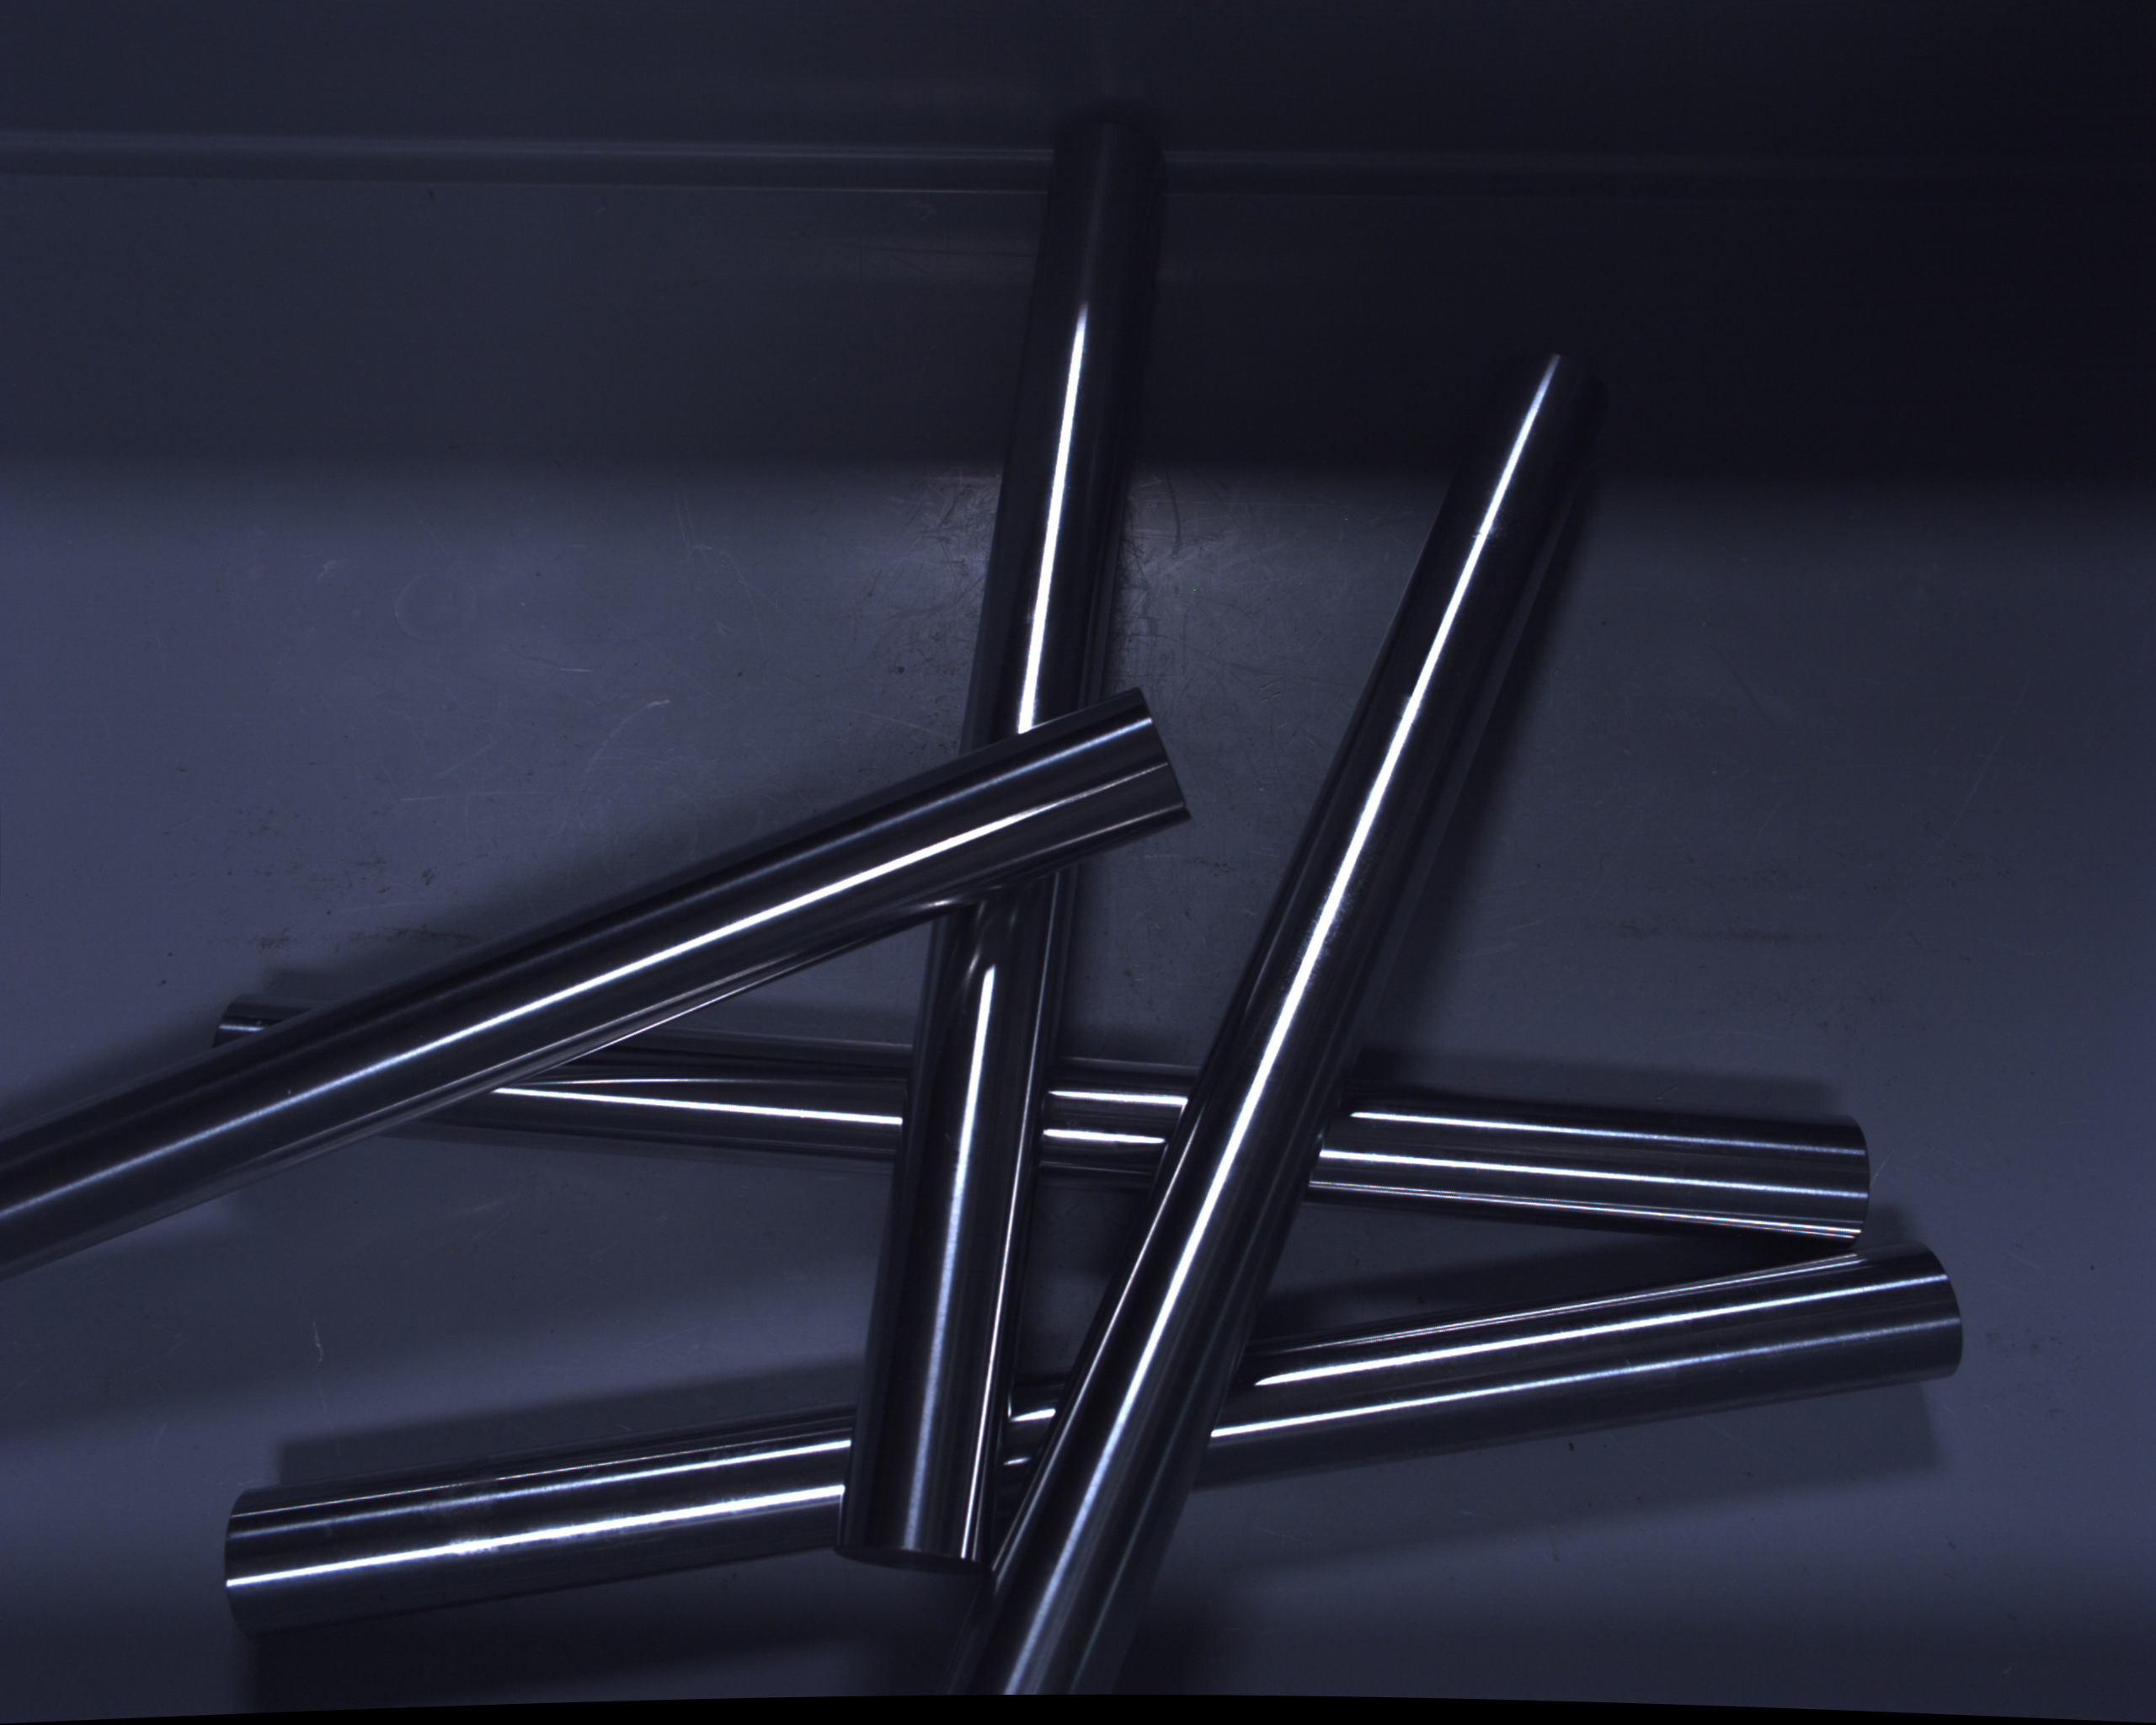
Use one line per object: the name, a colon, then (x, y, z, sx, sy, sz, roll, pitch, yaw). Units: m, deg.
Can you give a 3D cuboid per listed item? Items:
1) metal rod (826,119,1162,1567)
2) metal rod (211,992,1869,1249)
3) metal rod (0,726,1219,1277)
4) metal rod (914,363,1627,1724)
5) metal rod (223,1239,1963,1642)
metal rod: (-0.011, -0.023, 0.398, 0.025, 0.025, 0.299, 6, 64, 2)
metal rod: (-0.008, 0.048, 0.390, 0.302, 0.025, 0.025, 4, 70, 1)
metal rod: (-0.122, 0.036, 0.367, 0.302, 0.025, 0.025, -19, 71, -2)
metal rod: (0.044, 0.023, 0.379, 0.025, 0.025, 0.300, 23, 64, 8)
metal rod: (0.006, 0.102, 0.371, 0.302, 0.025, 0.025, -8, 70, -4)
